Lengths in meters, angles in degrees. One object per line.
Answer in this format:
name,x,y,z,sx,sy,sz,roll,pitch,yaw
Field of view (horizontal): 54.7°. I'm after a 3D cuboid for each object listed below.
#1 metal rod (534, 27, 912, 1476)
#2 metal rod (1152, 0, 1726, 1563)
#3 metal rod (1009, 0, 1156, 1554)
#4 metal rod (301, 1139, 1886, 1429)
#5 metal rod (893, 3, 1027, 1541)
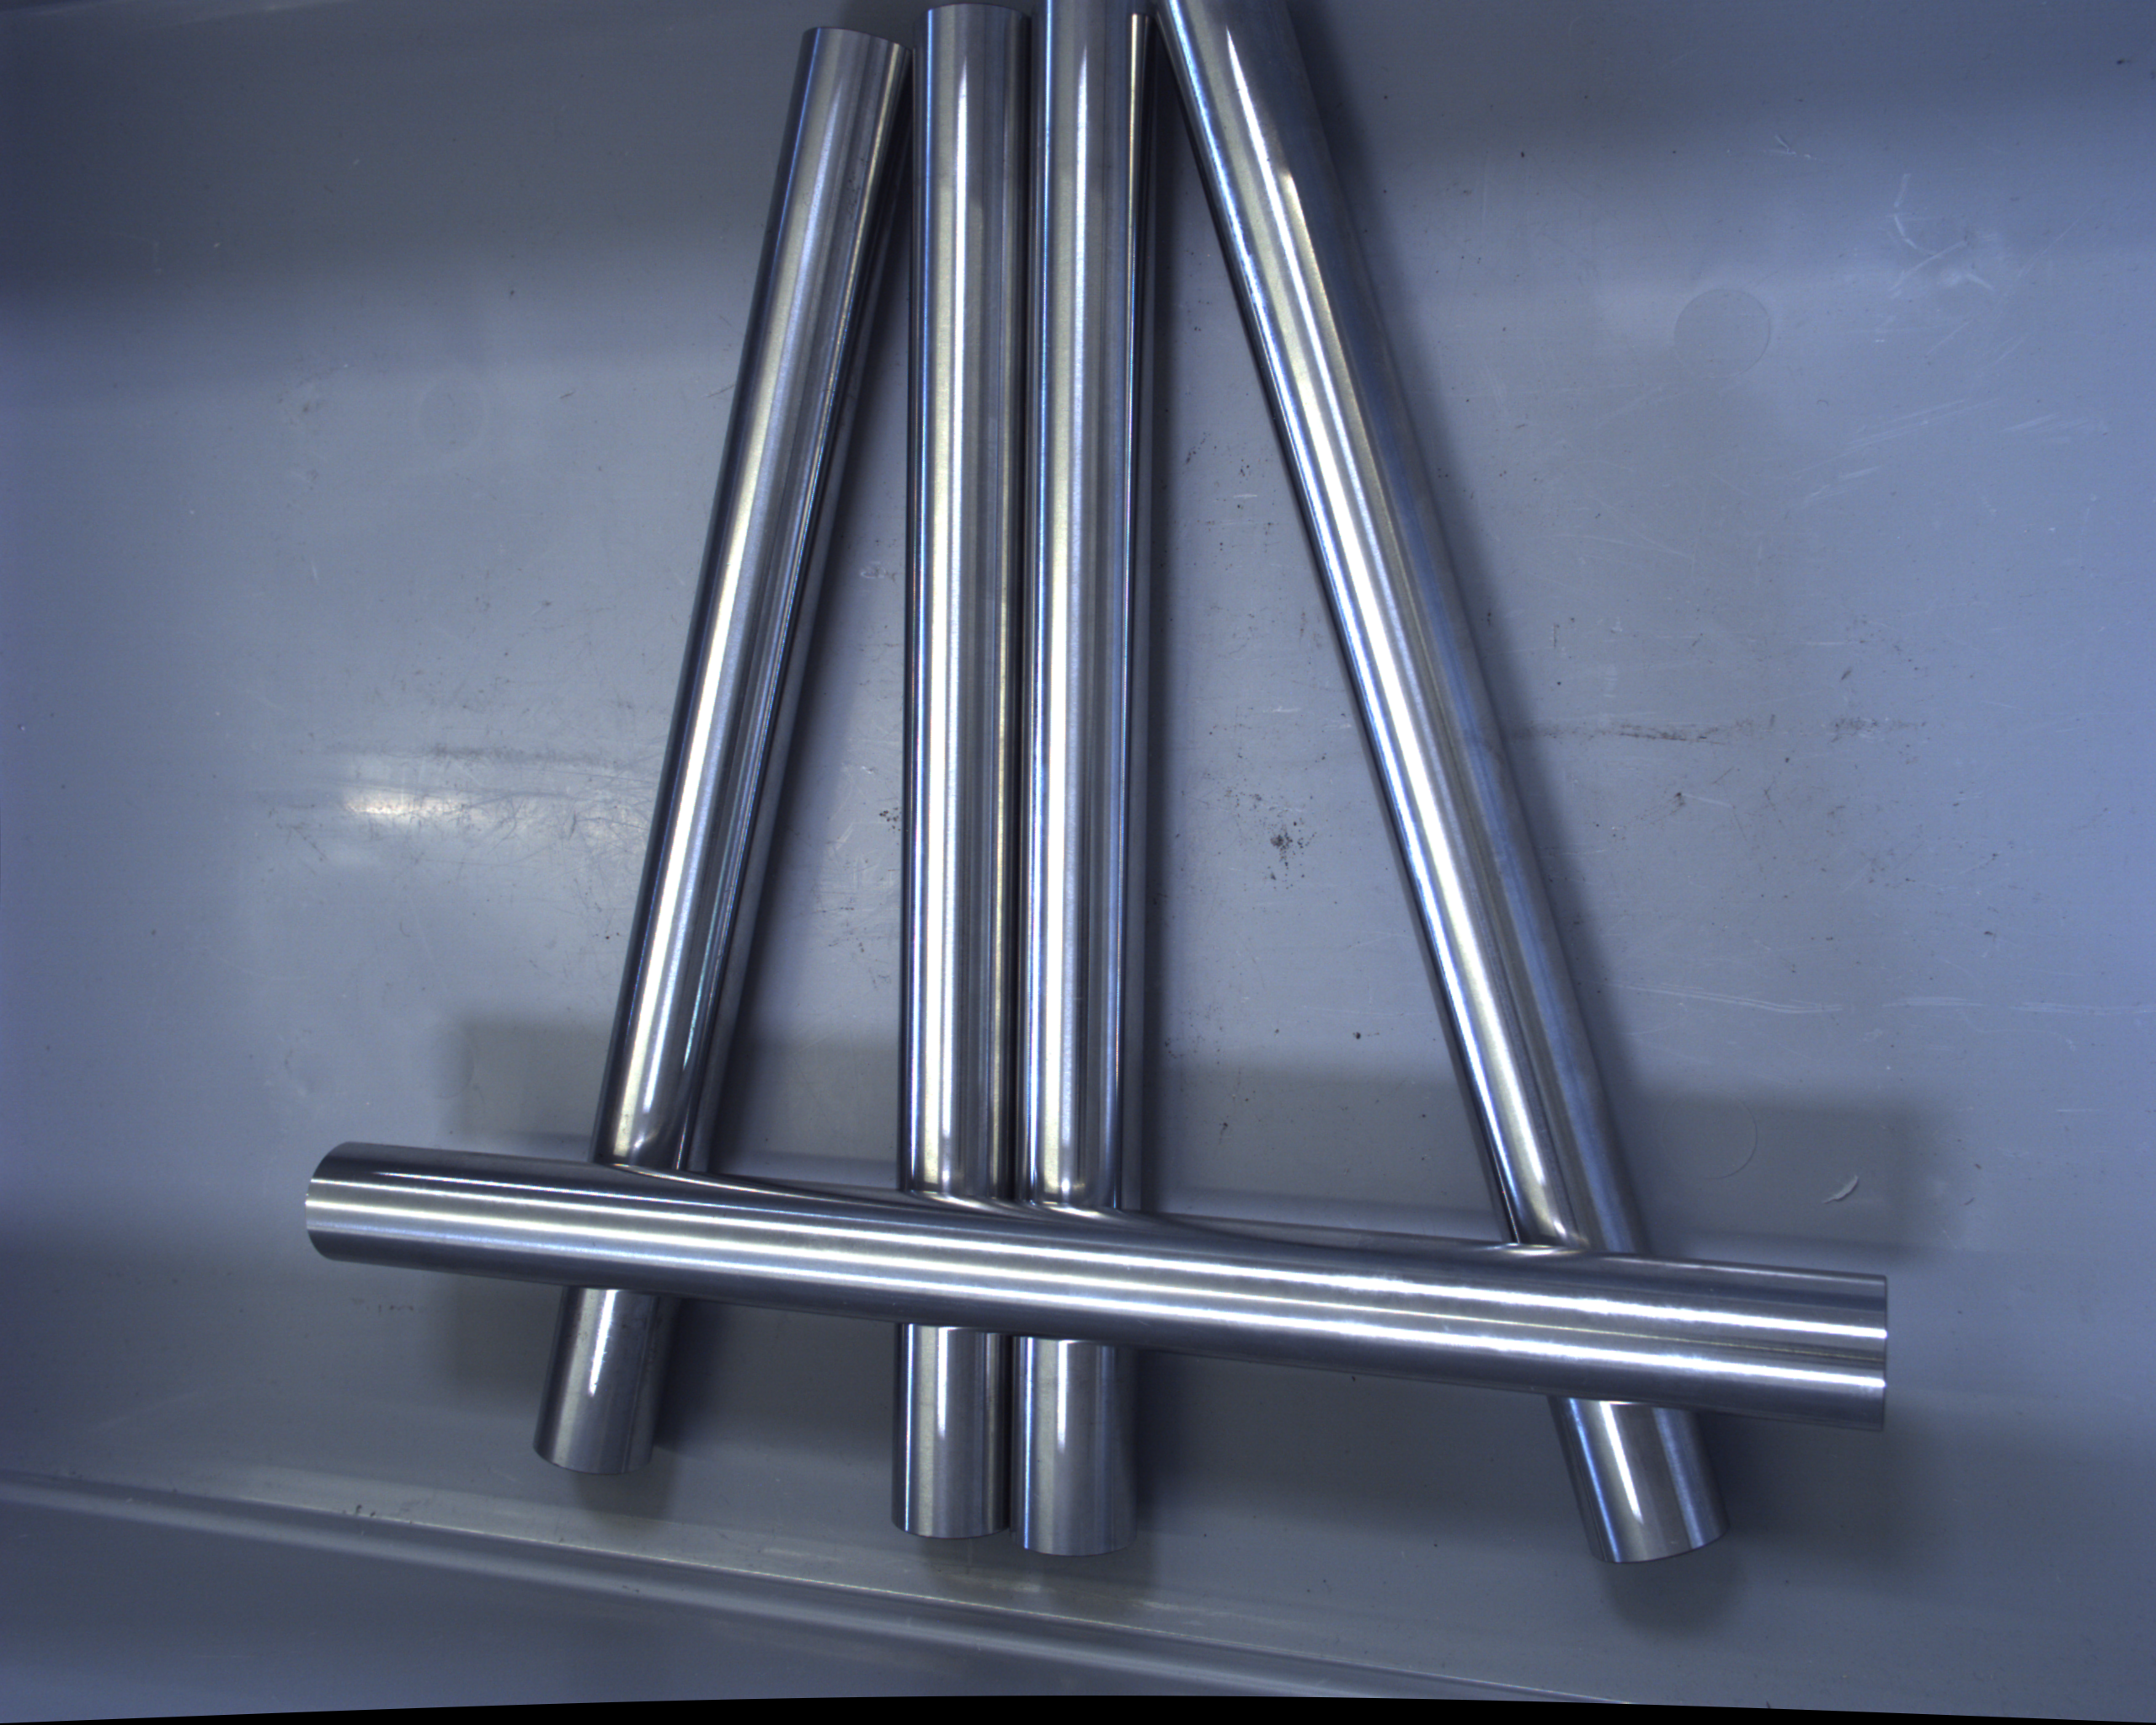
metal rod,-0.074,-0.020,0.435,0.025,0.025,0.298,13,94,19
metal rod,0.065,-0.023,0.386,0.025,0.025,0.299,-17,84,19
metal rod,0.001,-0.018,0.409,0.025,0.025,0.298,1,90,20
metal rod,-0.012,0.074,0.386,0.301,0.025,0.025,2,91,20
metal rod,-0.022,-0.017,0.417,0.025,0.025,0.298,1,90,20
